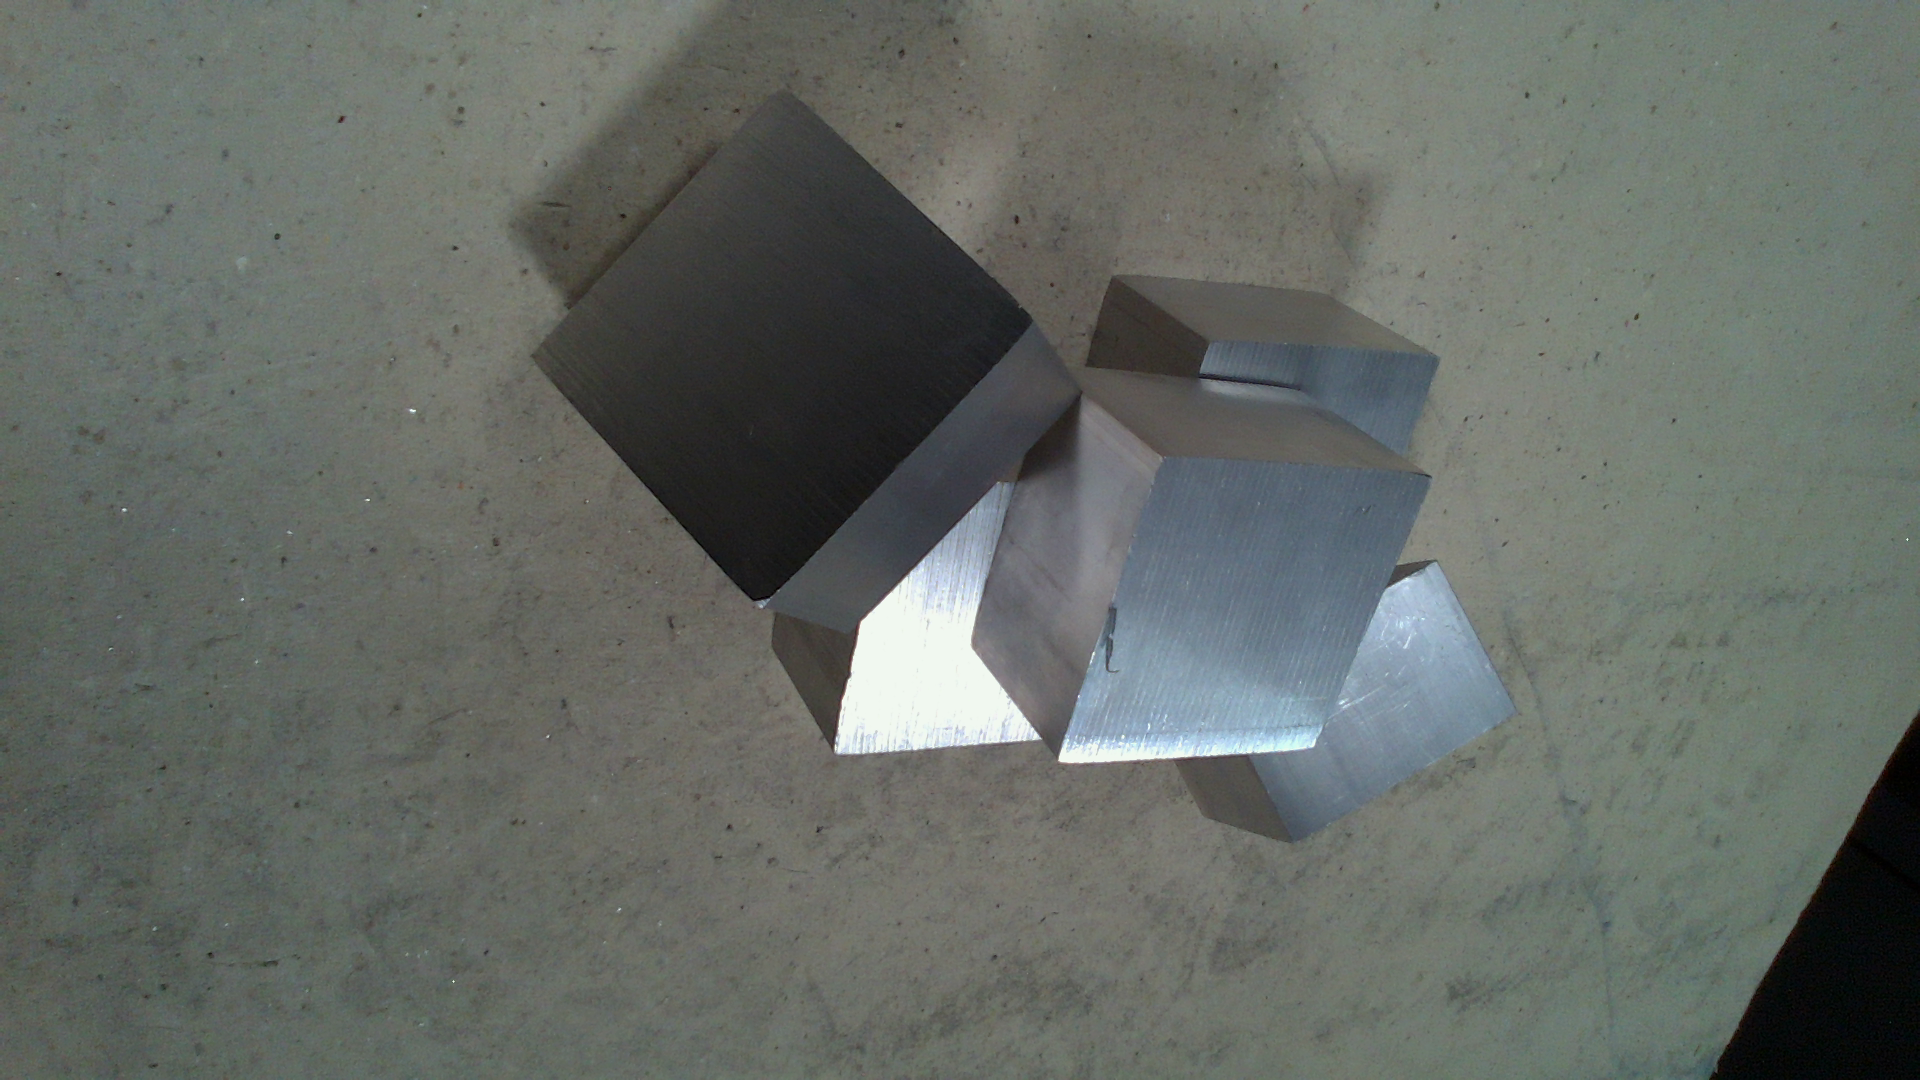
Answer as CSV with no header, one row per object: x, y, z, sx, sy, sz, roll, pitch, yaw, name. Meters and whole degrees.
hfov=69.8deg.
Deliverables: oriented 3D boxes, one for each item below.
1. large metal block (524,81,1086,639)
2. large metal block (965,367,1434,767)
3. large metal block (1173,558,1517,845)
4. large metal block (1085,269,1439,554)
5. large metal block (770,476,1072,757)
-0.033,-0.037,0.305,0.080,0.080,0.050,-46,162,4,large metal block
0.057,0.007,0.341,0.080,0.050,0.080,2,117,-29,large metal block
0.111,0.049,0.436,0.080,0.080,0.050,-28,90,-11,large metal block
0.079,-0.028,0.399,0.080,0.050,0.080,0,118,-28,large metal block
0.000,0.009,0.376,0.080,0.050,0.080,0,118,-28,large metal block
